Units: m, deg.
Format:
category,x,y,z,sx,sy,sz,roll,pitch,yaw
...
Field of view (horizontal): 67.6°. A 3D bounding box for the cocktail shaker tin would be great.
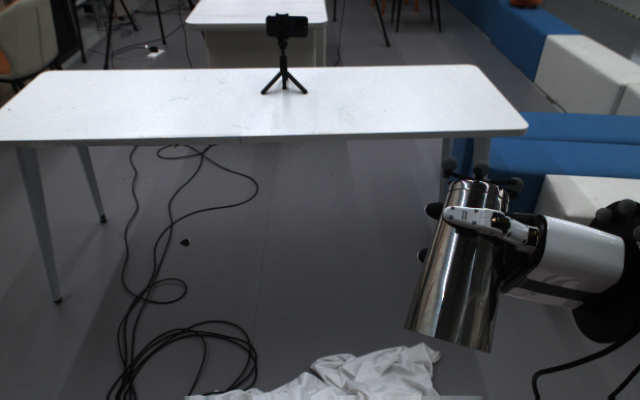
category,x,y,z,sx,sy,sz,roll,pitch,yaw
cocktail shaker tin,0.161,0.066,0.531,0.093,0.093,0.170,13,79,15
